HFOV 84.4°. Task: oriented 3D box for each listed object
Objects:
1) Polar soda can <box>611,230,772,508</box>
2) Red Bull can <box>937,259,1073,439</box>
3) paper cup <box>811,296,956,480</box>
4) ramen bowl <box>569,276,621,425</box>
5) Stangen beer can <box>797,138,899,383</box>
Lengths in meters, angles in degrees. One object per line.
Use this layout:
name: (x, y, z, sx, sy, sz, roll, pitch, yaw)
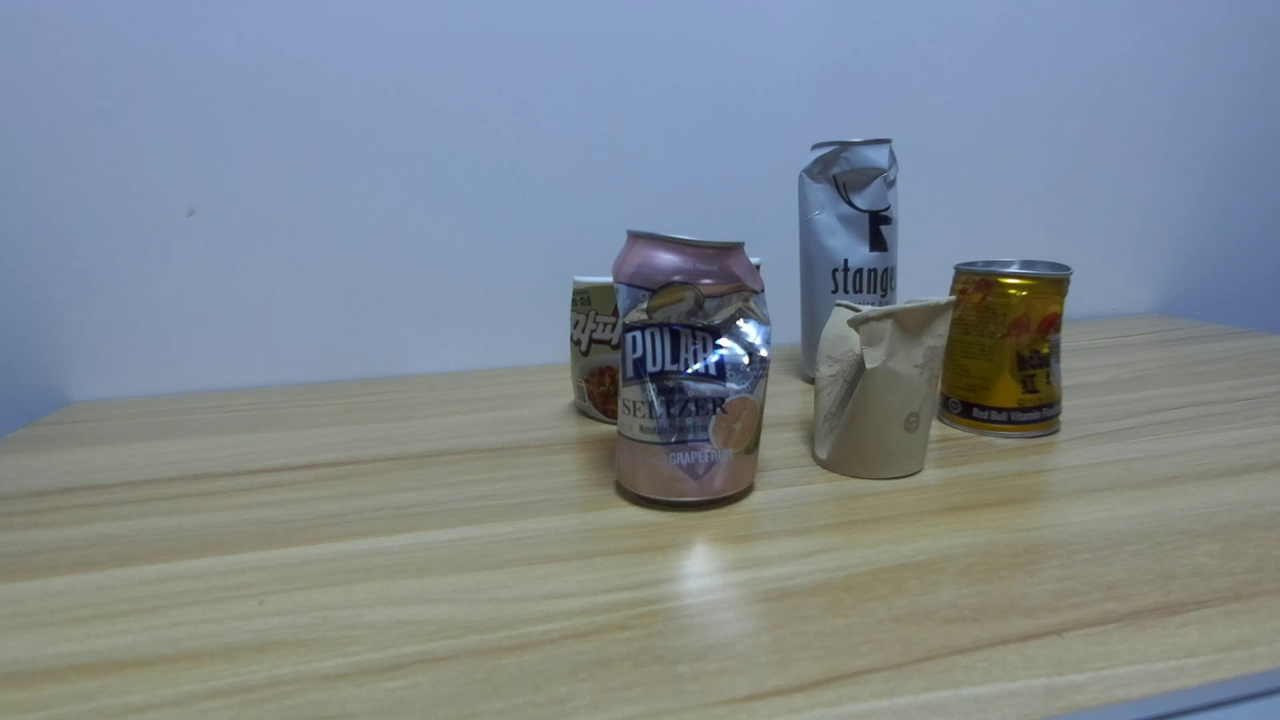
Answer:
Polar soda can: (0.025, 0.003, 0.337, 0.071, 0.121, 0.066, 0, 4, 6)
Red Bull can: (0.209, -0.009, 0.405, 0.072, 0.092, 0.072, -1, 13, 0)
paper cup: (0.114, 0.012, 0.352, 0.067, 0.083, 0.058, -8, 11, -40)
ramen bowl: (0.008, -0.013, 0.473, 0.111, 0.093, 0.129, 7, 14, 40)
Stangen beer can: (0.147, -0.065, 0.495, 0.065, 0.166, 0.066, 3, 12, 25)
